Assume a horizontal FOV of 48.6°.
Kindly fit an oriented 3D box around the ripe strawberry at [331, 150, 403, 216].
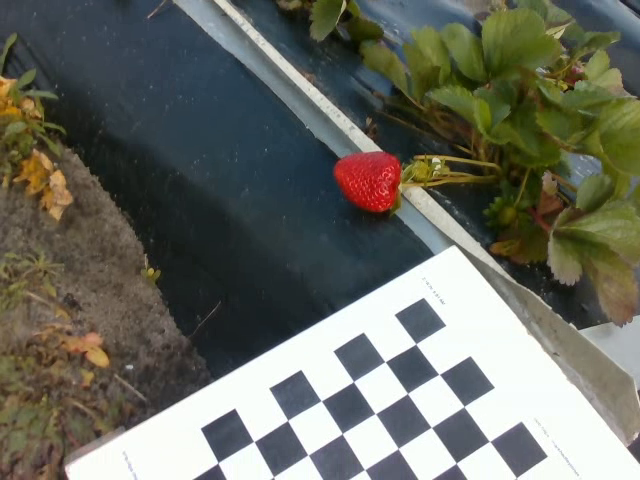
[{"bbox_3d":[0.031,-0.044,0.453,0.052,0.048,0.030,17,-31,-17],"label":"ripe strawberry"}]
